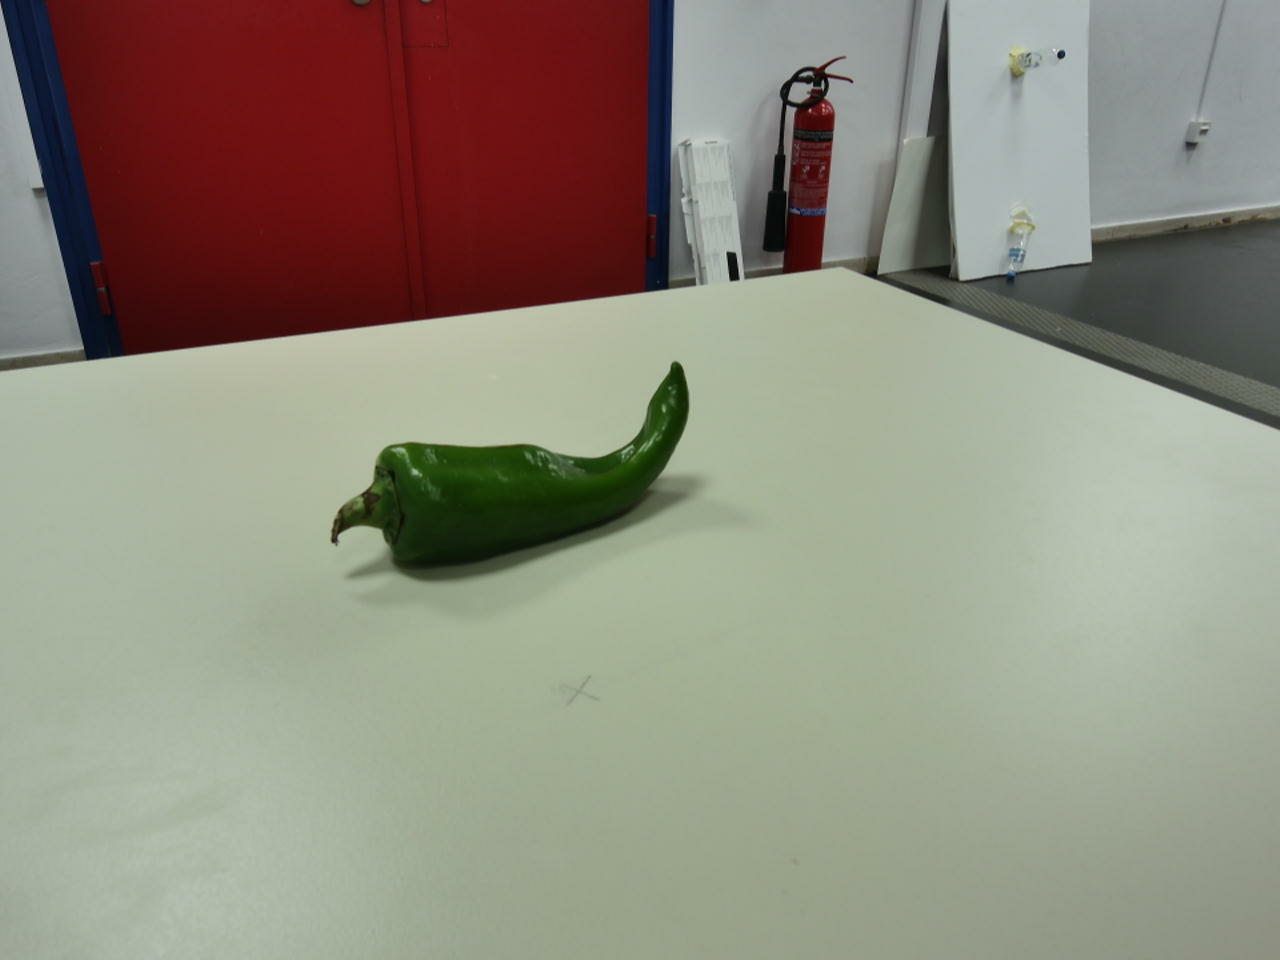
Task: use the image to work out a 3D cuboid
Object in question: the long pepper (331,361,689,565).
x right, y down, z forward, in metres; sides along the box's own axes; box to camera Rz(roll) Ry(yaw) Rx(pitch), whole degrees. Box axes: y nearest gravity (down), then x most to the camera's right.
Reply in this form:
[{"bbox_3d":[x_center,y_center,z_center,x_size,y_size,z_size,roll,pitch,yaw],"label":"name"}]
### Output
[{"bbox_3d":[-0.049,-0.006,0.440,0.175,0.065,0.058,-12,27,-26],"label":"long pepper"}]
